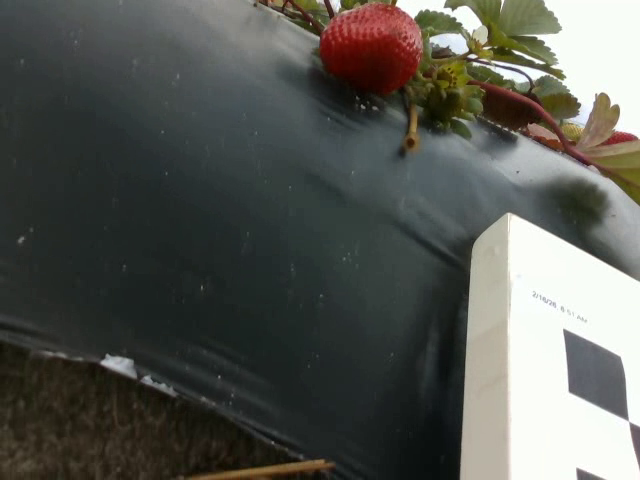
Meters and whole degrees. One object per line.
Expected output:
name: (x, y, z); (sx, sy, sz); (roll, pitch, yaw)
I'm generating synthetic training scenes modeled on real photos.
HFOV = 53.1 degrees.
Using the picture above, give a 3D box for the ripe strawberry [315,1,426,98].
ripe strawberry: (0.007, -0.024, 0.074); (0.018, 0.014, 0.017); (37, 4, -15)
